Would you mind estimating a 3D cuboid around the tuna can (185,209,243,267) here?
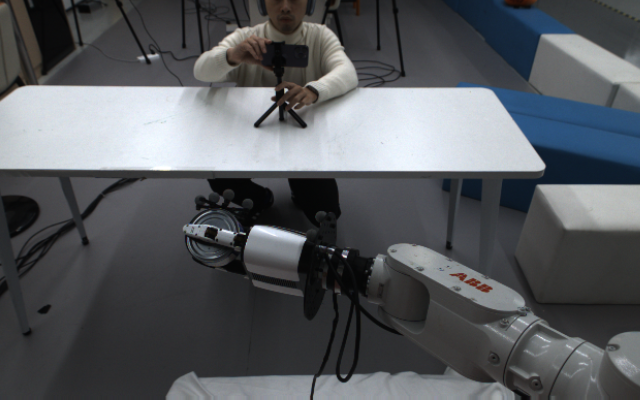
[{"bbox_3d":[-0.160,0.058,0.740,0.085,0.034,0.085,-3,68,8],"label":"tuna can"}]
